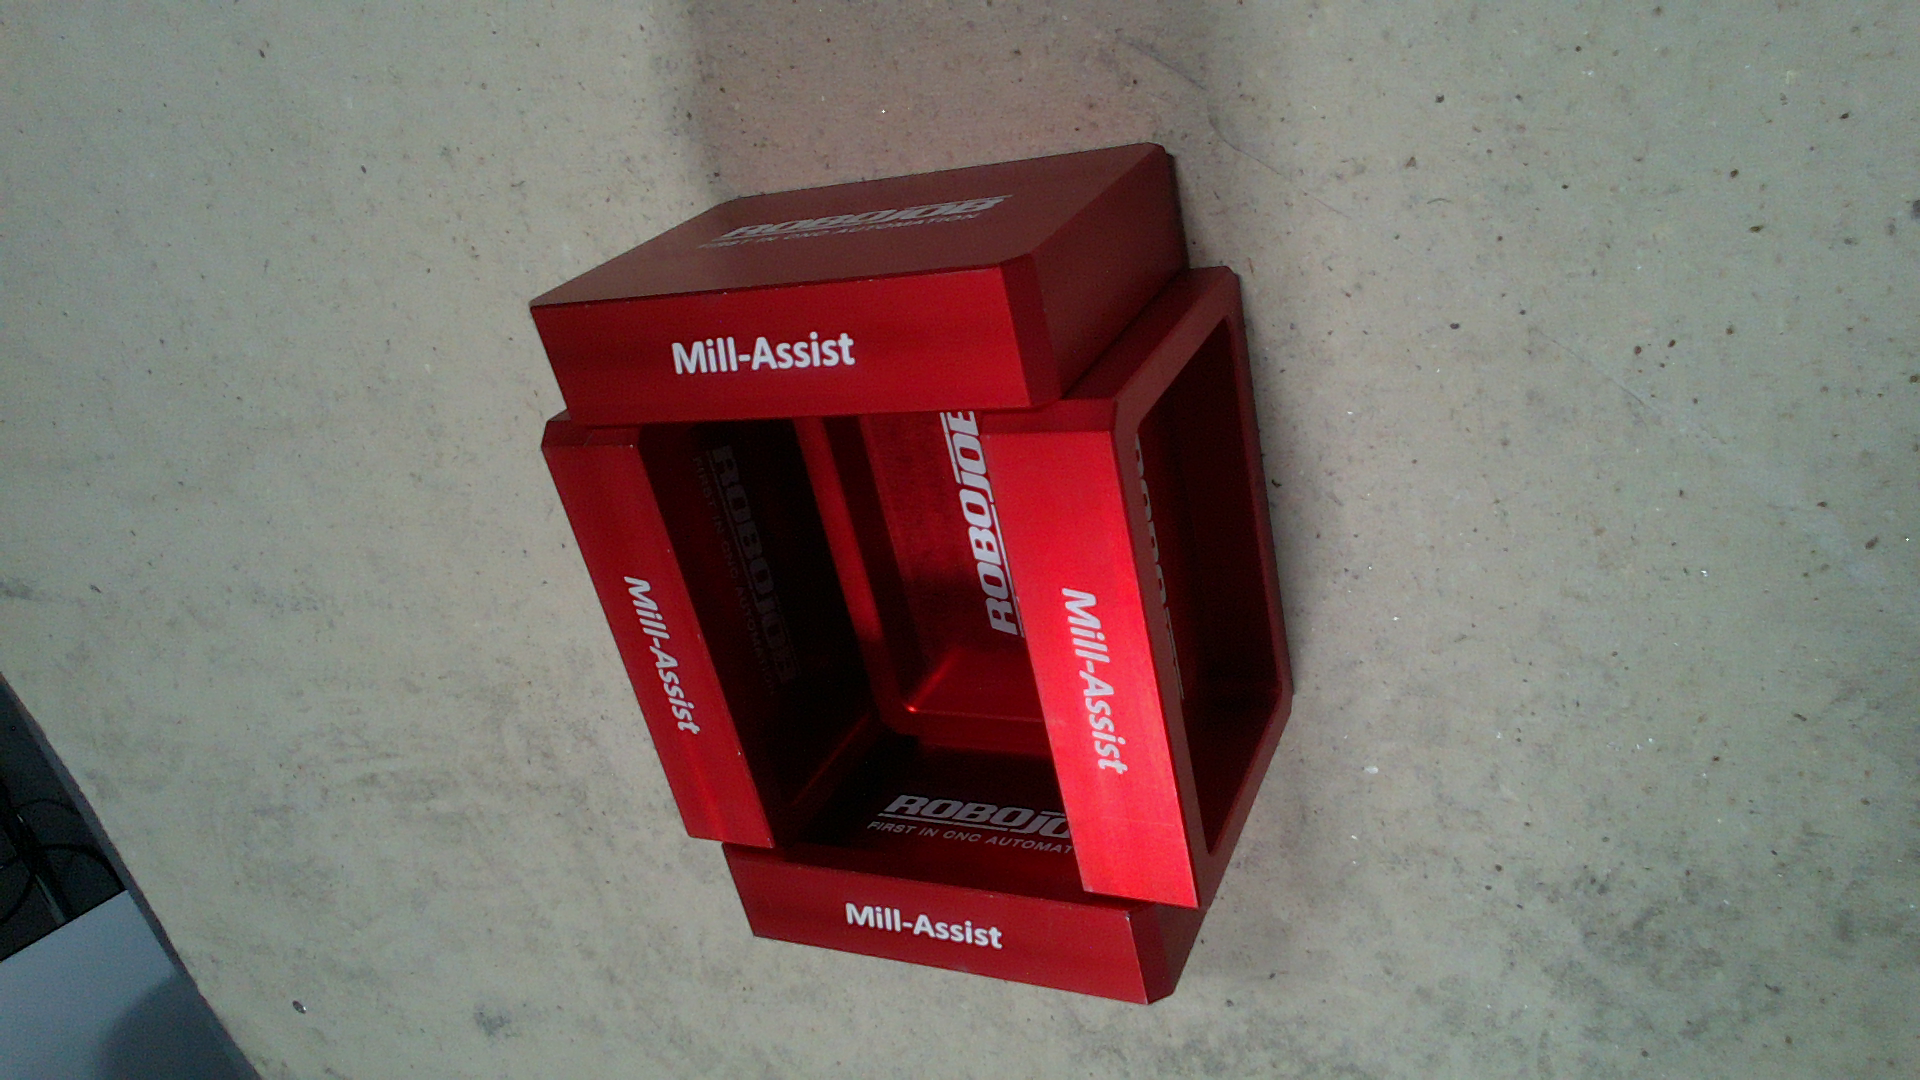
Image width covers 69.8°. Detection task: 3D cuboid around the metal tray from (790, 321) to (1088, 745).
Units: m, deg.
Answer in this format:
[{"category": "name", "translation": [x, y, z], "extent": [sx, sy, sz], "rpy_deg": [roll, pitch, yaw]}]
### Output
[{"category": "metal tray", "translation": [0.007, -0.005, 0.383], "extent": [0.090, 0.030, 0.130], "rpy_deg": [1, 119, 28]}]

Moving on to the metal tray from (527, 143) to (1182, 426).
[{"category": "metal tray", "translation": [-0.024, -0.060, 0.325], "extent": [0.130, 0.090, 0.030], "rpy_deg": [1, 119, 28]}]

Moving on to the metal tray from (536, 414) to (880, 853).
[{"category": "metal tray", "translation": [-0.059, 0.010, 0.388], "extent": [0.030, 0.090, 0.130], "rpy_deg": [1, 119, 28]}]

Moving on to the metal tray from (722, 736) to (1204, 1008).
[{"category": "metal tray", "translation": [0.009, 0.081, 0.395], "extent": [0.130, 0.090, 0.030], "rpy_deg": [1, 119, 28]}]

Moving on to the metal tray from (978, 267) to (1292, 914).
[{"category": "metal tray", "translation": [0.048, 0.011, 0.331], "extent": [0.030, 0.090, 0.130], "rpy_deg": [1, 119, 28]}]
